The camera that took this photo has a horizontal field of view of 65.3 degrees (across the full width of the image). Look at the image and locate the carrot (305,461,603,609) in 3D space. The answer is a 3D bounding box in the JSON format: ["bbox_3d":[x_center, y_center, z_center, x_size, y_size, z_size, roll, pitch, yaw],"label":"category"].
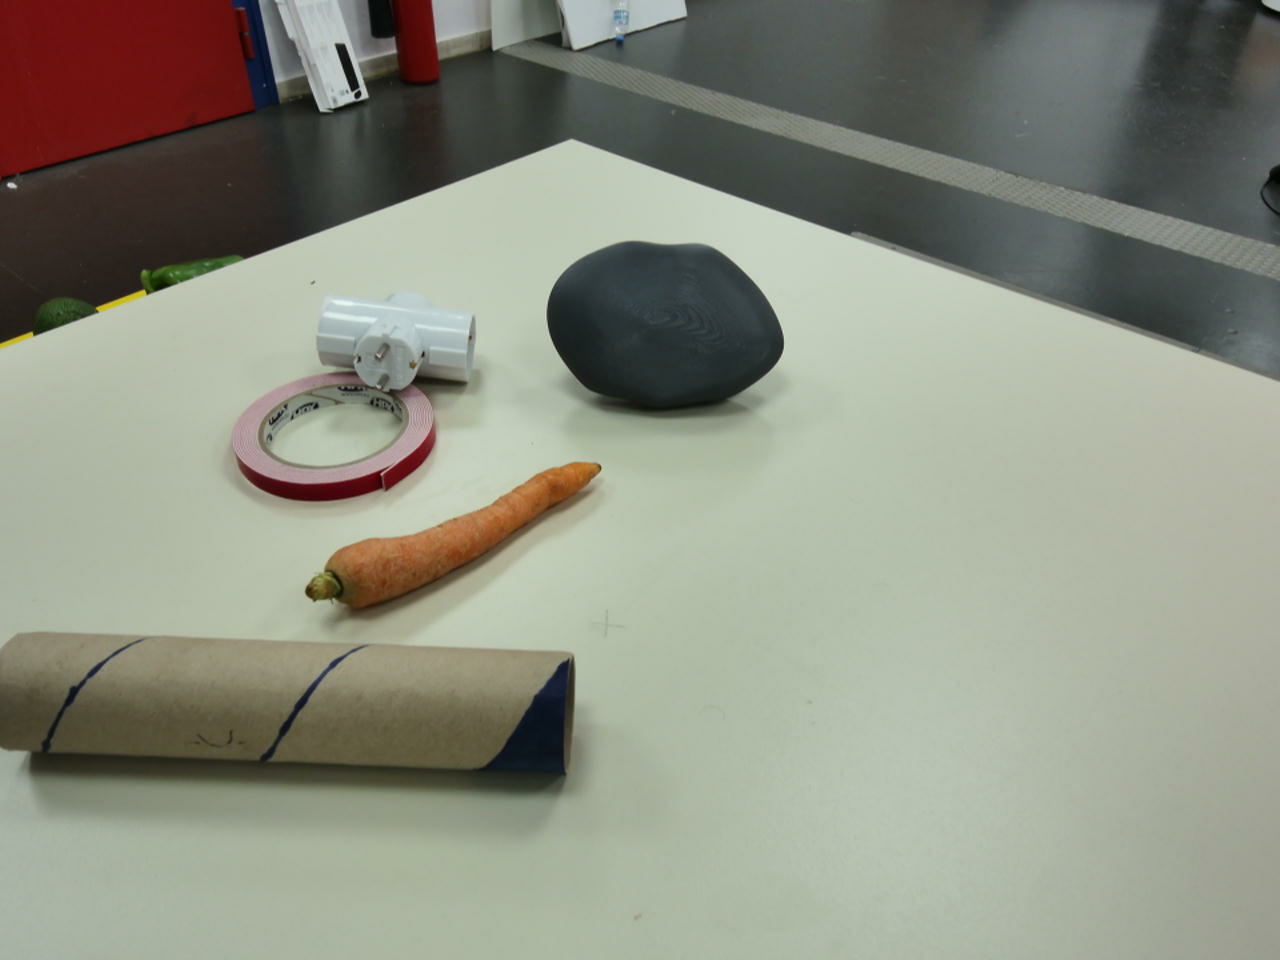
[{"bbox_3d":[-0.083,0.022,0.491,0.173,0.032,0.030,-27,45,-32],"label":"carrot"}]
